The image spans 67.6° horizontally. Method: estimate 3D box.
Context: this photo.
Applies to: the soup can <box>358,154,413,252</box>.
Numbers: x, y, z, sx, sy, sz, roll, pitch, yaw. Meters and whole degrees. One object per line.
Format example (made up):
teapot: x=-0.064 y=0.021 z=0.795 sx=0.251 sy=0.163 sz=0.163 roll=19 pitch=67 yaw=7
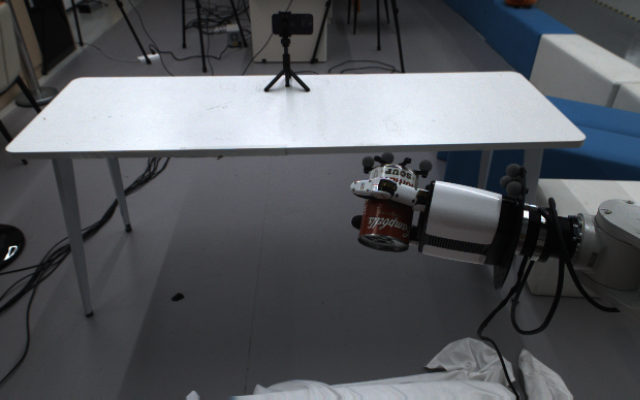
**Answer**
soup can: x=0.093 y=0.011 z=0.645 sx=0.067 sy=0.067 sz=0.101 roll=9 pitch=70 yaw=10
